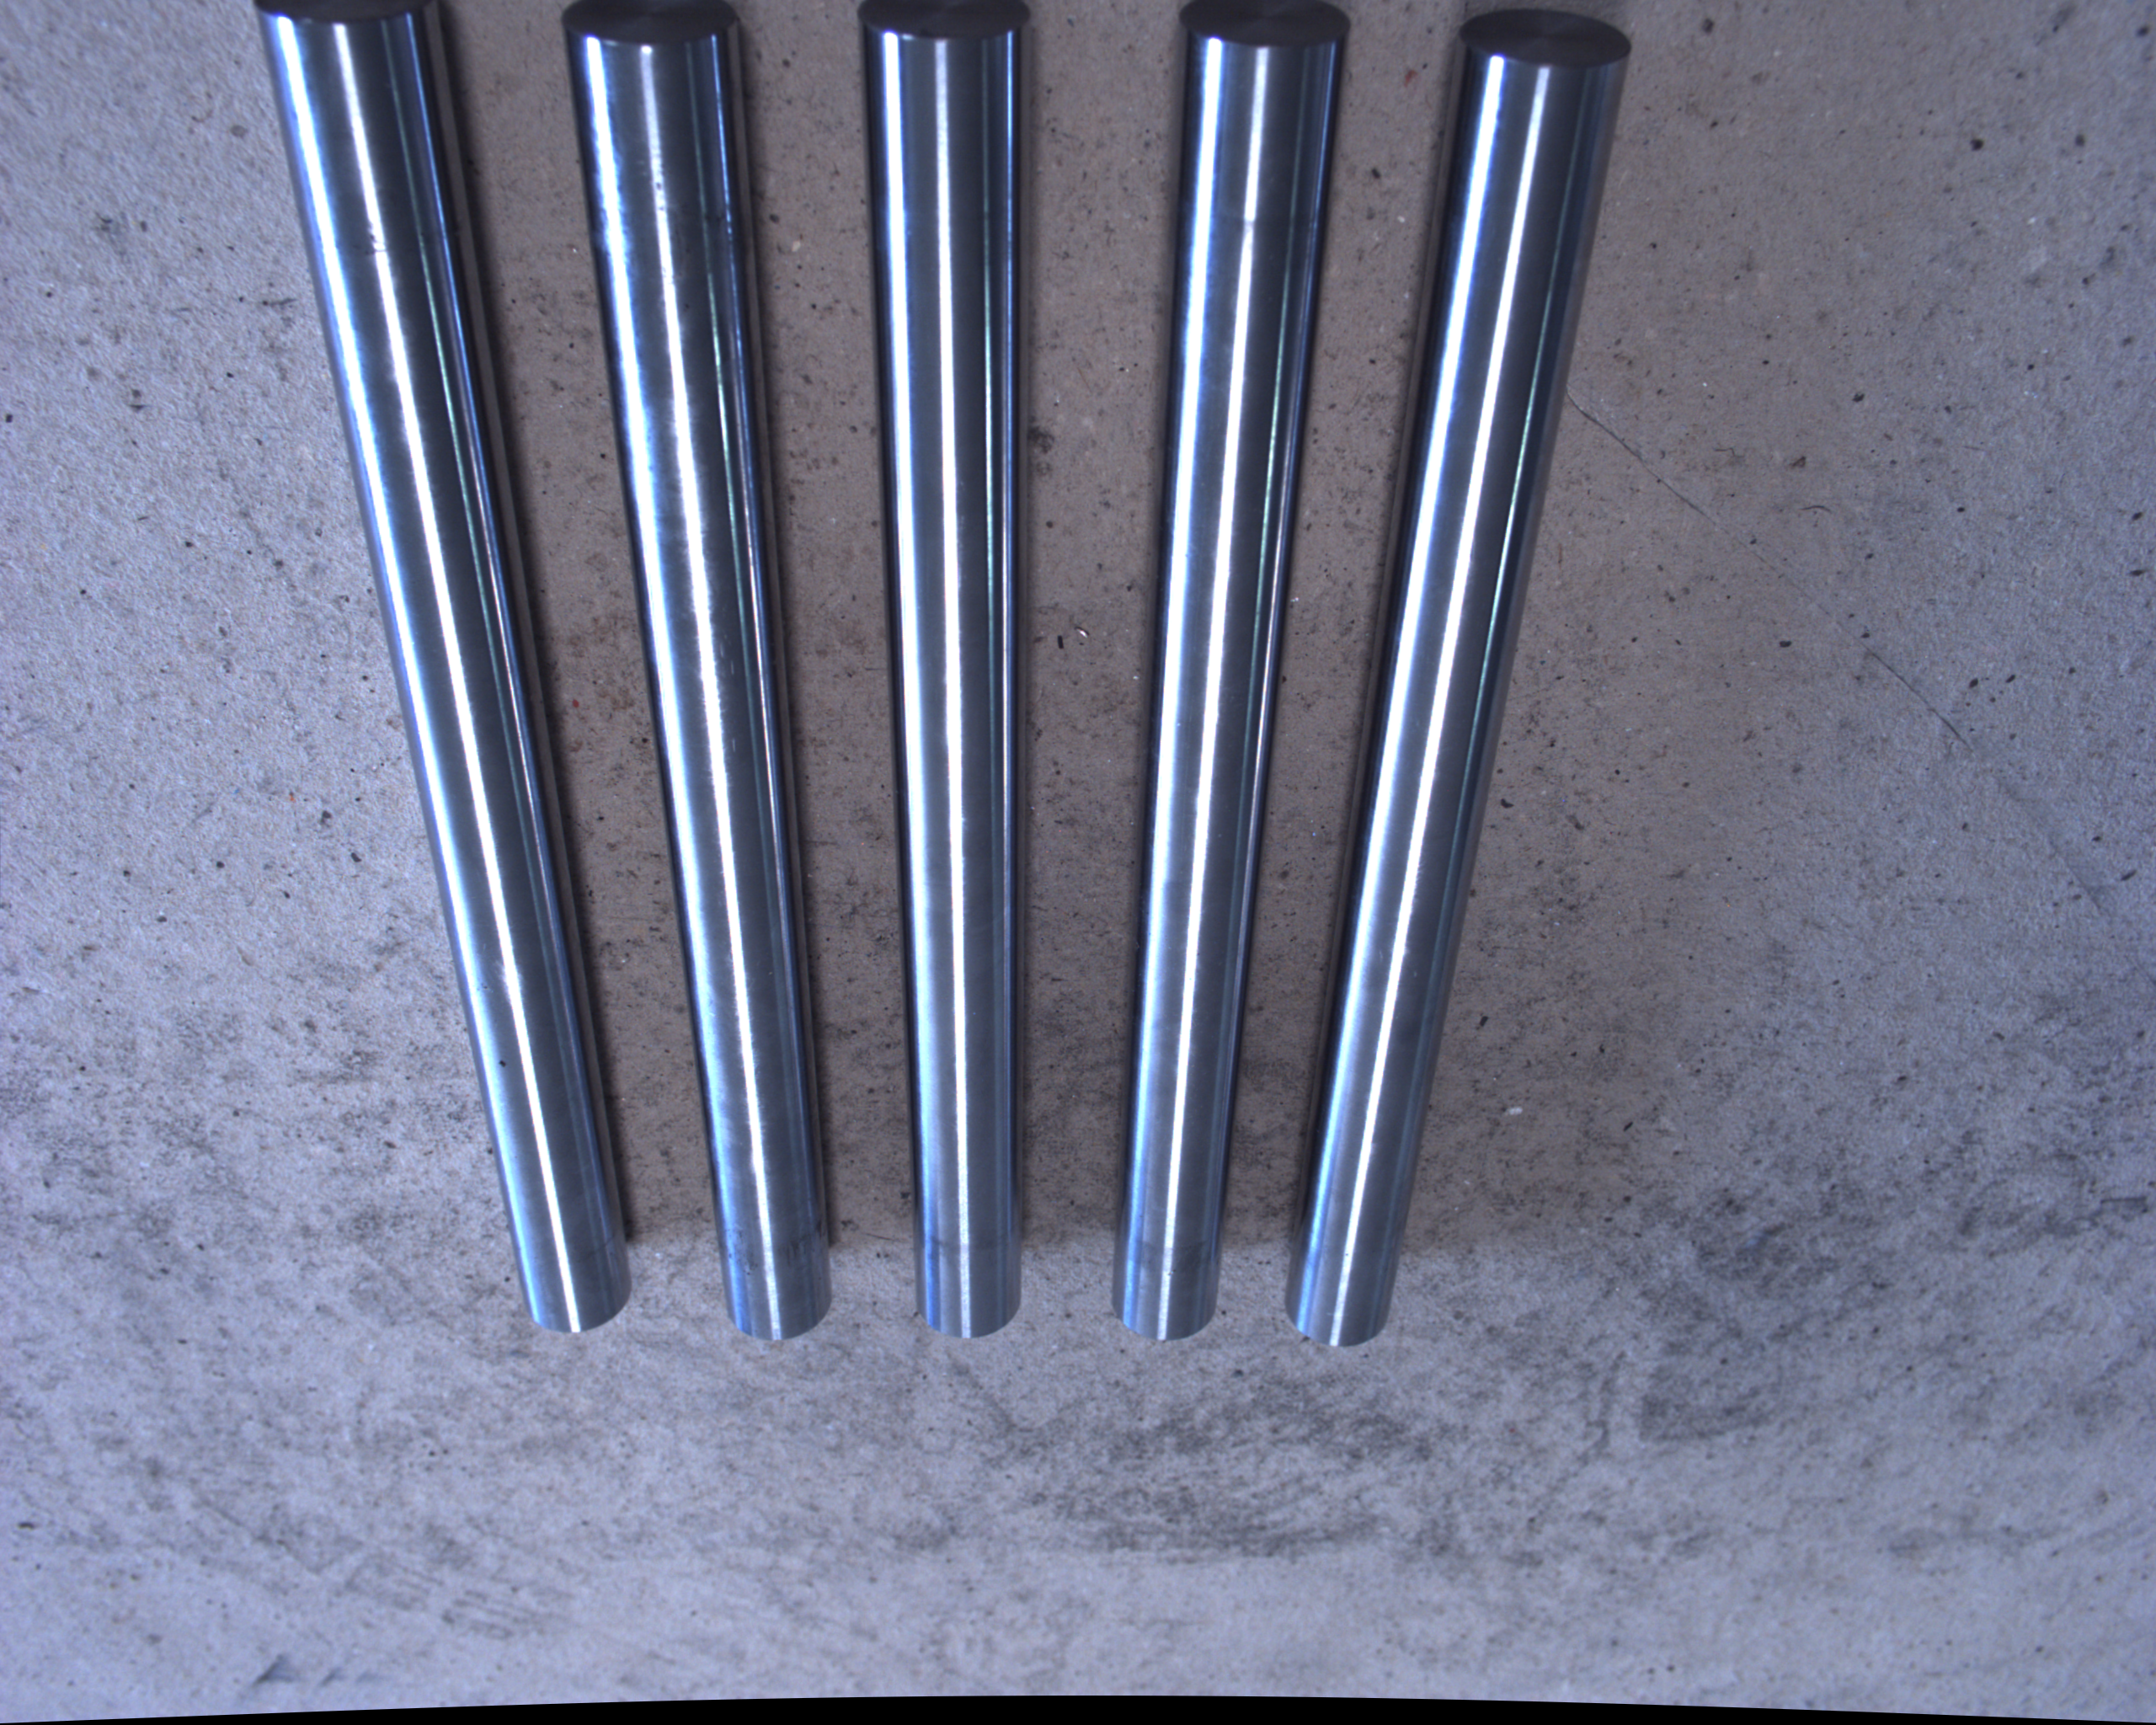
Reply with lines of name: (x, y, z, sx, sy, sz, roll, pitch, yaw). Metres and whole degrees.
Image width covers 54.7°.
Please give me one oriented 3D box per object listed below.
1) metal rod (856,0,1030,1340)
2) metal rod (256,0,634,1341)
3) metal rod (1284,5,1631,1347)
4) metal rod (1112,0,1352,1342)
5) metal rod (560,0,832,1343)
metal rod: (-0.023, -0.010, 0.399, 0.025, 0.025, 0.298, 1, 130, -1)
metal rod: (-0.111, -0.011, 0.397, 0.025, 0.025, 0.298, 2, 130, -2)
metal rod: (0.065, -0.008, 0.402, 0.025, 0.025, 0.298, 1, 130, -1)
metal rod: (0.024, -0.010, 0.400, 0.025, 0.025, 0.298, 1, 130, -1)
metal rod: (-0.067, -0.010, 0.399, 0.025, 0.025, 0.298, 1, 130, -1)
